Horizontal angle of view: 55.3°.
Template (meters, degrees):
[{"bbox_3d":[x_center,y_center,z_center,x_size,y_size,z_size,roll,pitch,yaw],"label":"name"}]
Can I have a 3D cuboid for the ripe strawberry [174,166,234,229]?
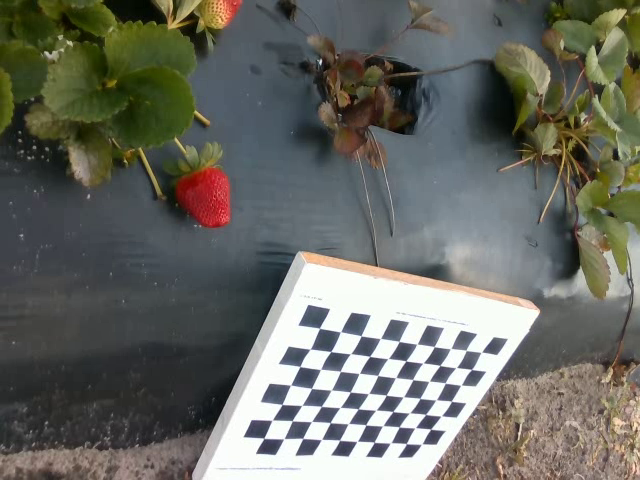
[{"bbox_3d":[-0.085,-0.029,0.449,0.045,0.055,0.042,-29,-26,1],"label":"ripe strawberry"}]
